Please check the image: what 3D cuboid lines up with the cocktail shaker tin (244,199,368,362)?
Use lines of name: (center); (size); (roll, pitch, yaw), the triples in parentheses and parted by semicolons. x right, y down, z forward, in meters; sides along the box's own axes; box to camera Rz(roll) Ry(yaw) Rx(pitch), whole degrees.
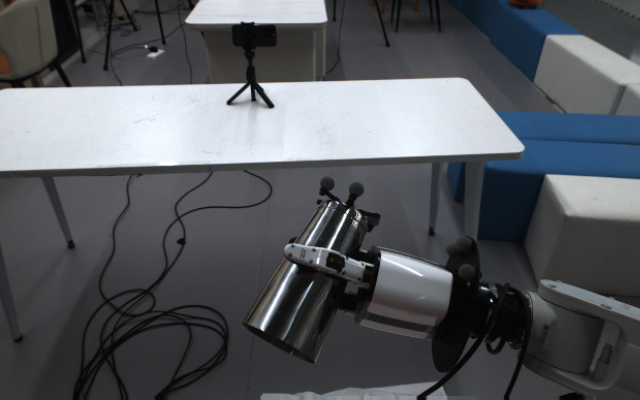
cocktail shaker tin: (-0.005, 0.085, 0.557); (0.093, 0.093, 0.170); (18, 66, 21)
